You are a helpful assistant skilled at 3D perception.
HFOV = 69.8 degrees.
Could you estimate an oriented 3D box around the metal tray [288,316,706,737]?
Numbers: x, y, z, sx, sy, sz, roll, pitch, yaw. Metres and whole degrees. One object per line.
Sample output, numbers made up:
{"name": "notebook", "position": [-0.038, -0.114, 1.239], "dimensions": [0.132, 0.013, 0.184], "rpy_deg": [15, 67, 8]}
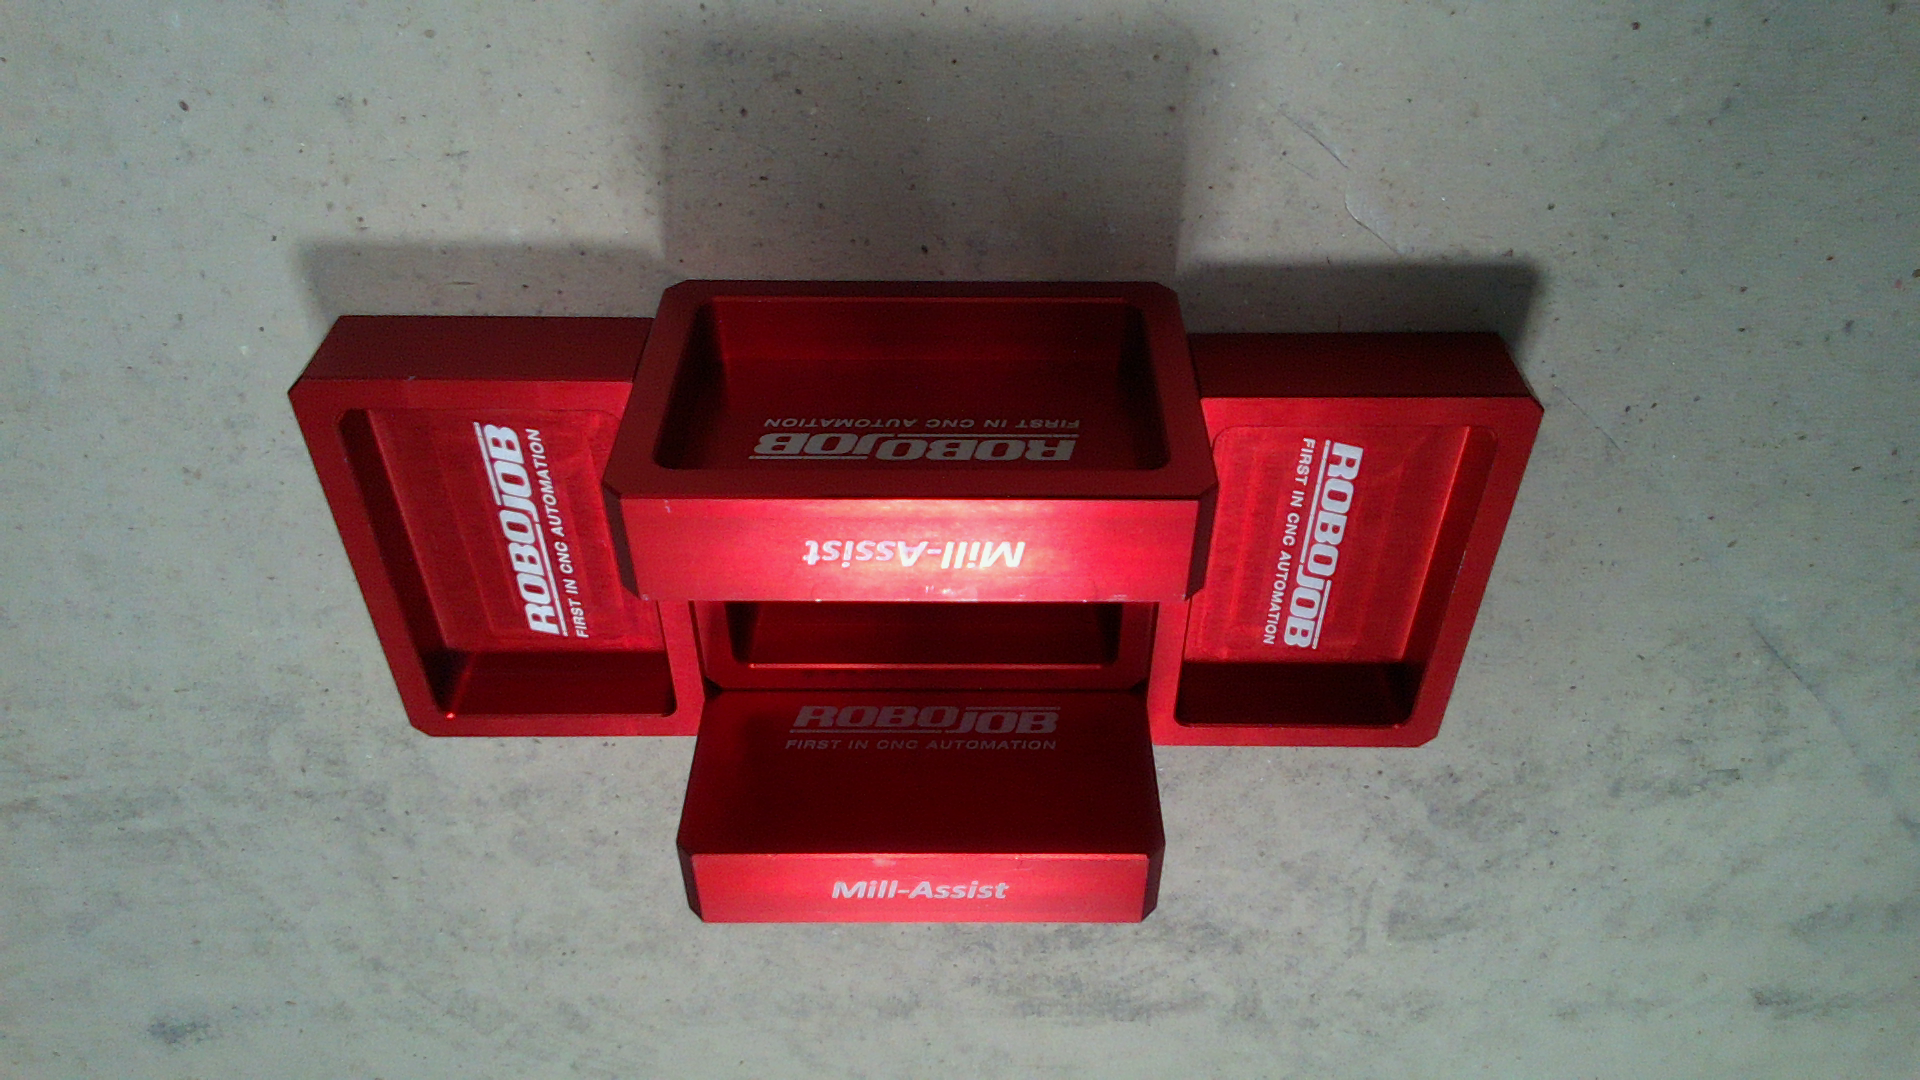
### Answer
{"name": "metal tray", "position": [-0.120, 0.001, 0.387], "dimensions": [0.090, 0.030, 0.130], "rpy_deg": [0, 130, 0]}

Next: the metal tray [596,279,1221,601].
{"name": "metal tray", "position": [-0.011, -0.027, 0.326], "dimensions": [0.130, 0.090, 0.030], "rpy_deg": [0, 130, 0]}

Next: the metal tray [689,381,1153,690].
{"name": "metal tray", "position": [-0.011, 0.000, 0.388], "dimensions": [0.130, 0.030, 0.090], "rpy_deg": [0, 130, -1]}

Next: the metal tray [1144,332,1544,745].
{"name": "metal tray", "position": [0.100, 0.004, 0.391], "dimensions": [0.090, 0.030, 0.130], "rpy_deg": [0, 130, 0]}

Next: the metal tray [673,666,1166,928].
{"name": "metal tray", "position": [-0.010, 0.067, 0.402], "dimensions": [0.130, 0.090, 0.030], "rpy_deg": [0, 130, 0]}
